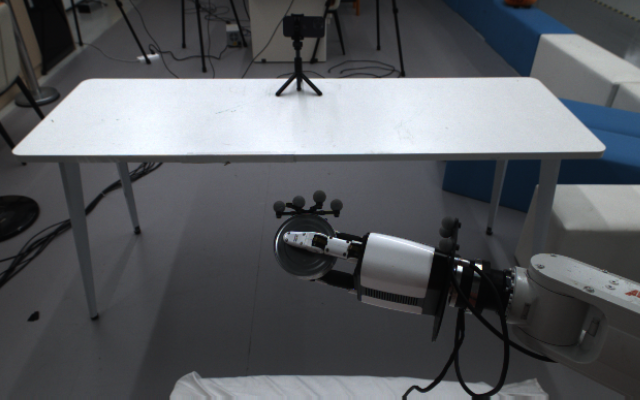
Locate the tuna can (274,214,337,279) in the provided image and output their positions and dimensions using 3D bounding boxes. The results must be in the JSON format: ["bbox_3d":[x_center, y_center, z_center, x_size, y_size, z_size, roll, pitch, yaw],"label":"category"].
[{"bbox_3d":[-0.016,0.067,0.645,0.085,0.034,0.085,-2,69,6],"label":"tuna can"}]
